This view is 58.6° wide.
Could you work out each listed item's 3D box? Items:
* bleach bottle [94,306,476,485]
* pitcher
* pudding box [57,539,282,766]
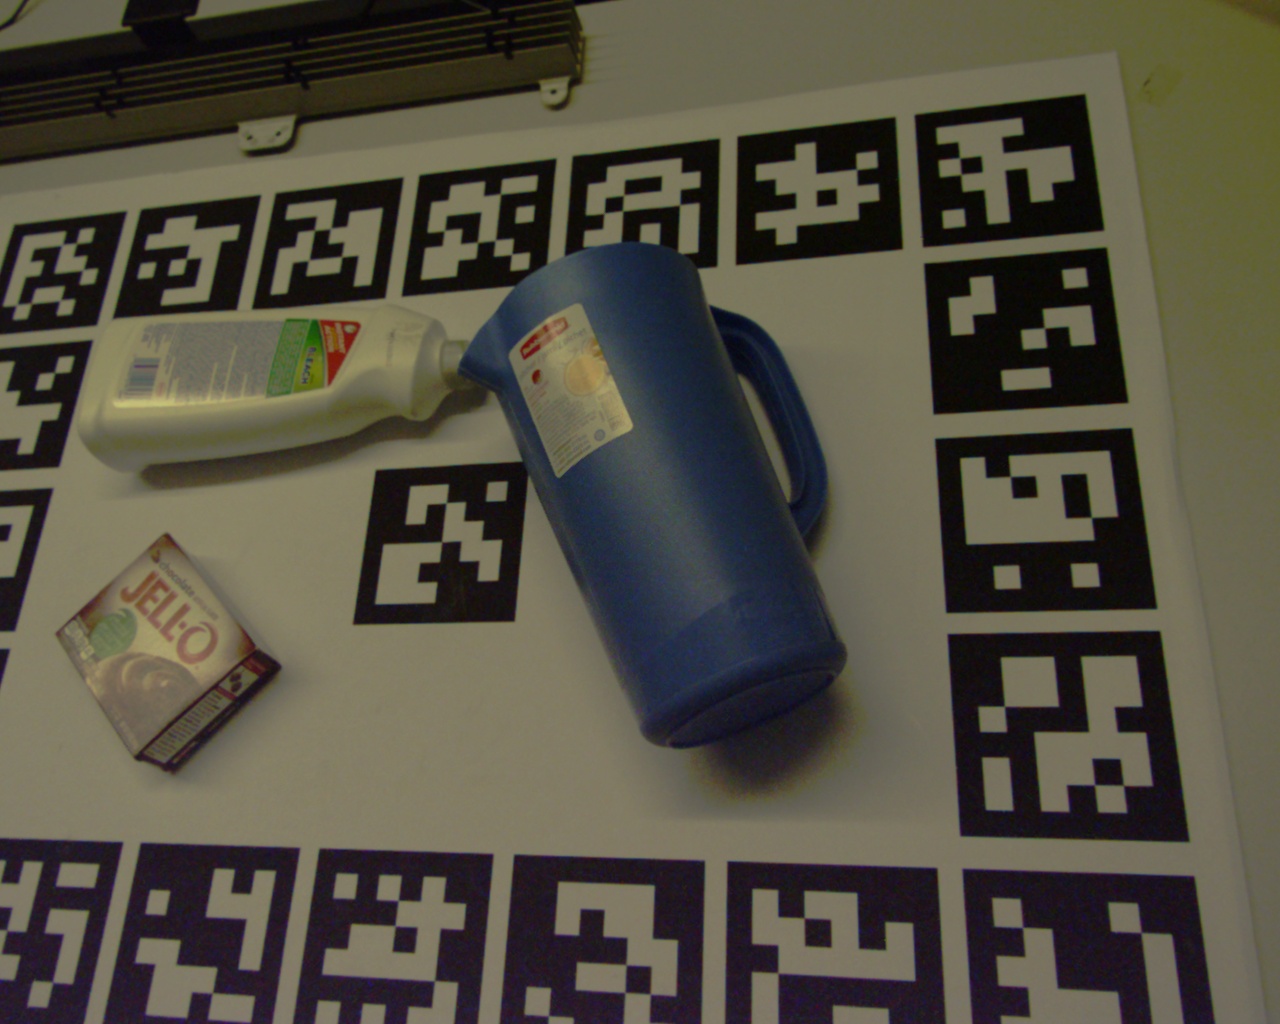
[{"bbox_3d":[-0.228,-0.080,0.753,0.252,0.067,0.103,-5,71,10],"label":"bleach bottle"},{"bbox_3d":[0.019,0.002,0.638,0.186,0.134,0.244,-12,66,-29],"label":"pitcher"},{"bbox_3d":[-0.292,0.087,0.708,0.090,0.038,0.115,-41,66,-11],"label":"pudding box"}]
